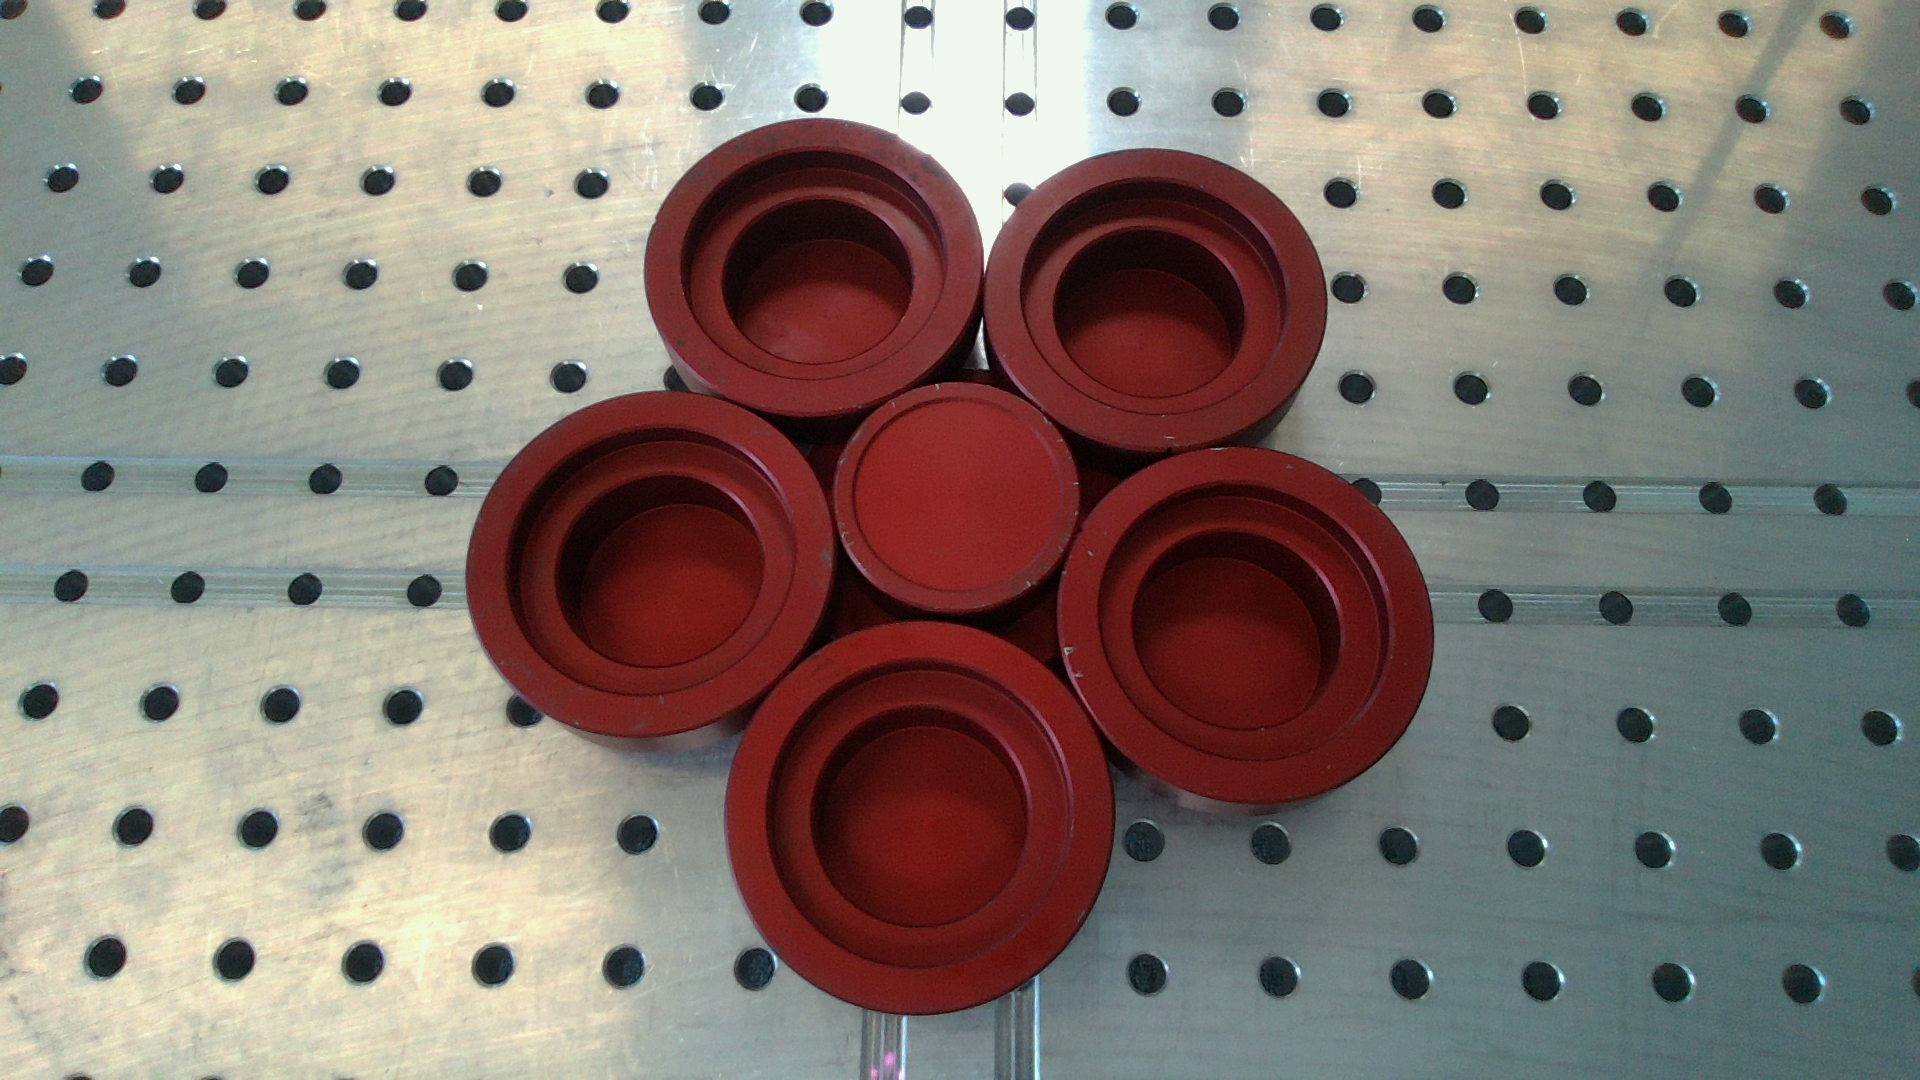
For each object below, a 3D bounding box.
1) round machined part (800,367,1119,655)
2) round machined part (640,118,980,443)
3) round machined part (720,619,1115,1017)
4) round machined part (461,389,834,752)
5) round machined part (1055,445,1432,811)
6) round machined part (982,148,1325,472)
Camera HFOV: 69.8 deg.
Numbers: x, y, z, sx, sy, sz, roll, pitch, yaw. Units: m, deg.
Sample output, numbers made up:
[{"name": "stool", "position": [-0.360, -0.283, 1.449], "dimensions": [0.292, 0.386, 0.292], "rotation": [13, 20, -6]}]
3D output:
[{"name": "round machined part", "position": [-0.002, -0.006, 0.390], "dimensions": [0.098, 0.042, 0.098], "rotation": [0, 70, 0]}, {"name": "round machined part", "position": [-0.043, -0.074, 0.415], "dimensions": [0.098, 0.042, 0.098], "rotation": [0, 70, 0]}, {"name": "round machined part", "position": [-0.010, 0.073, 0.361], "dimensions": [0.098, 0.042, 0.098], "rotation": [0, 70, 0]}, {"name": "round machined part", "position": [-0.083, 0.011, 0.383], "dimensions": [0.098, 0.042, 0.098], "rotation": [0, 70, 0]}, {"name": "round machined part", "position": [0.074, 0.027, 0.378], "dimensions": [0.098, 0.042, 0.098], "rotation": [0, 70, 0]}, {"name": "round machined part", "position": [0.055, -0.064, 0.411], "dimensions": [0.098, 0.042, 0.098], "rotation": [0, 70, 0]}]
